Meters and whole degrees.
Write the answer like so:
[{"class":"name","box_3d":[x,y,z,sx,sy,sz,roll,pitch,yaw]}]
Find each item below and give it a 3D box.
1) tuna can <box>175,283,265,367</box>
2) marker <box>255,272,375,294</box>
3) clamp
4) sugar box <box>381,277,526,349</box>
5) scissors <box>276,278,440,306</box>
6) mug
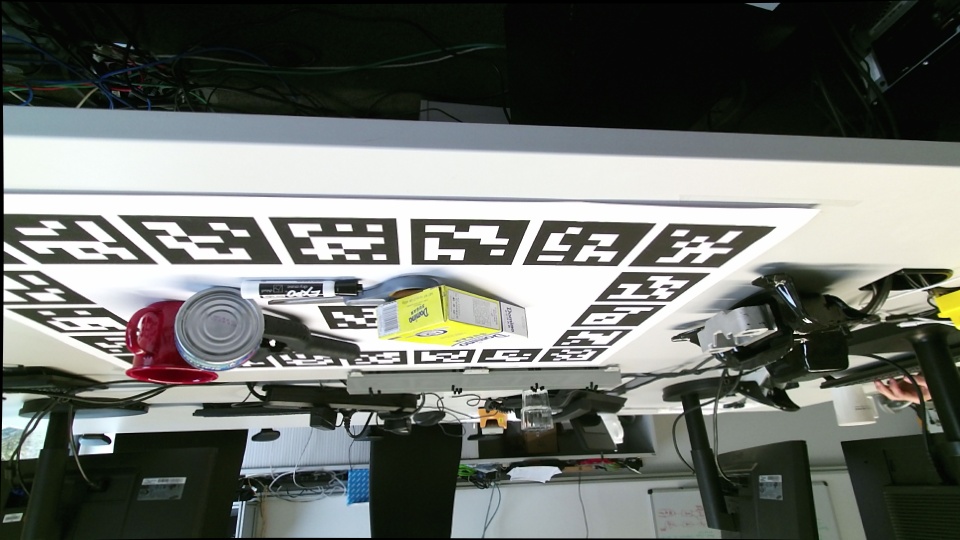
[{"class":"tuna can","box_3d":[-0.276,0.058,0.571,0.086,0.085,0.034,8,153,-22]},{"class":"marker","box_3d":[-0.172,0.014,0.565,0.121,0.019,0.020,-2,154,-3]},{"class":"clamp","box_3d":[-0.261,0.088,0.719,0.166,0.036,0.203,-4,154,3]},{"class":"sugar box","box_3d":[-0.025,0.057,0.633,0.093,0.045,0.177,-16,158,27]},{"class":"scissors","box_3d":[-0.131,0.033,0.607,0.203,0.016,0.088,-3,159,4]},{"class":"mug","box_3d":[-0.341,0.076,0.615,0.093,0.081,0.117,-12,157,19]}]
